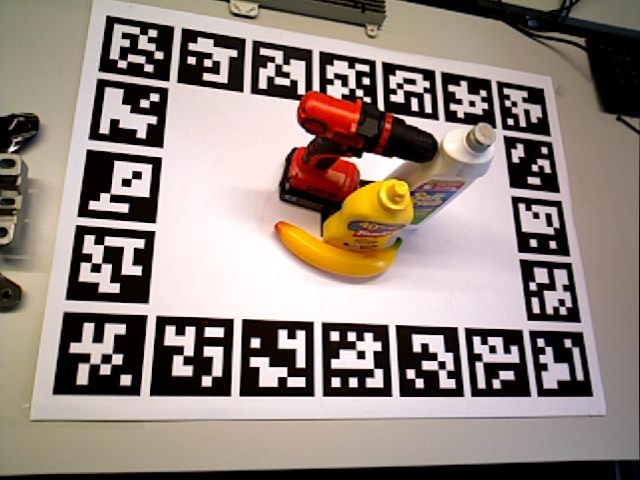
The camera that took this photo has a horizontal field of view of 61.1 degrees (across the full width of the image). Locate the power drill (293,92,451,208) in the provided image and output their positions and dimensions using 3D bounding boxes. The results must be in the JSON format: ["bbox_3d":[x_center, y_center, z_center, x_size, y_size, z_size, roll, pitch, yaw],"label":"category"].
[{"bbox_3d":[0.049,-0.105,0.705,0.183,0.190,0.057,18,67,-11],"label":"power drill"}]

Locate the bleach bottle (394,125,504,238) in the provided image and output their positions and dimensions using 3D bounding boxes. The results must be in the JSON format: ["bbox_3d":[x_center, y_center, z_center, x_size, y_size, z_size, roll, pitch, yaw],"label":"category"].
[{"bbox_3d":[0.157,-0.083,0.723,0.101,0.256,0.067,8,64,-13],"label":"bleach bottle"}]

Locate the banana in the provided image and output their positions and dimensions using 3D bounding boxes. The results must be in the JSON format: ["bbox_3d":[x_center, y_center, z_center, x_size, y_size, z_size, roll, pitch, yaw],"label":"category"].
[{"bbox_3d":[0.040,0.026,0.778,0.196,0.039,0.073,9,72,-10],"label":"banana"}]

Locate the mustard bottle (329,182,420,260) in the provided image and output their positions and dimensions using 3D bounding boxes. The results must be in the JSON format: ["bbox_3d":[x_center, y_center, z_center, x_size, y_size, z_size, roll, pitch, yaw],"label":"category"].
[{"bbox_3d":[0.082,-0.027,0.712,0.095,0.195,0.058,6,71,-15],"label":"mustard bottle"}]
